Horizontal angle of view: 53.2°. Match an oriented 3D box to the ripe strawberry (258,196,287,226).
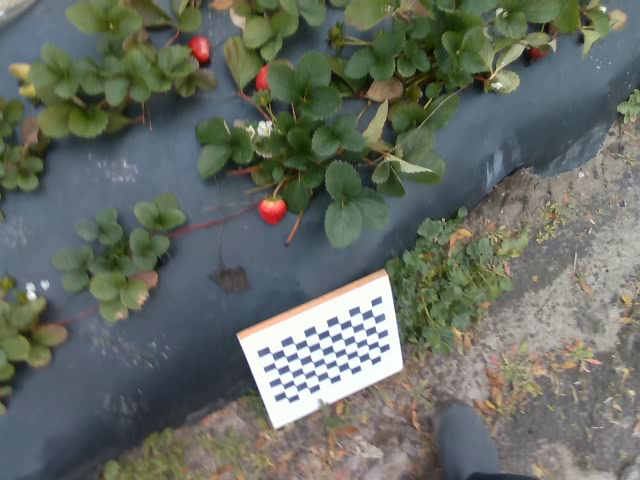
[{"bbox_3d":[-0.099,-0.058,1.337,0.061,0.065,0.050,-16,31,-19],"label":"ripe strawberry"}]
